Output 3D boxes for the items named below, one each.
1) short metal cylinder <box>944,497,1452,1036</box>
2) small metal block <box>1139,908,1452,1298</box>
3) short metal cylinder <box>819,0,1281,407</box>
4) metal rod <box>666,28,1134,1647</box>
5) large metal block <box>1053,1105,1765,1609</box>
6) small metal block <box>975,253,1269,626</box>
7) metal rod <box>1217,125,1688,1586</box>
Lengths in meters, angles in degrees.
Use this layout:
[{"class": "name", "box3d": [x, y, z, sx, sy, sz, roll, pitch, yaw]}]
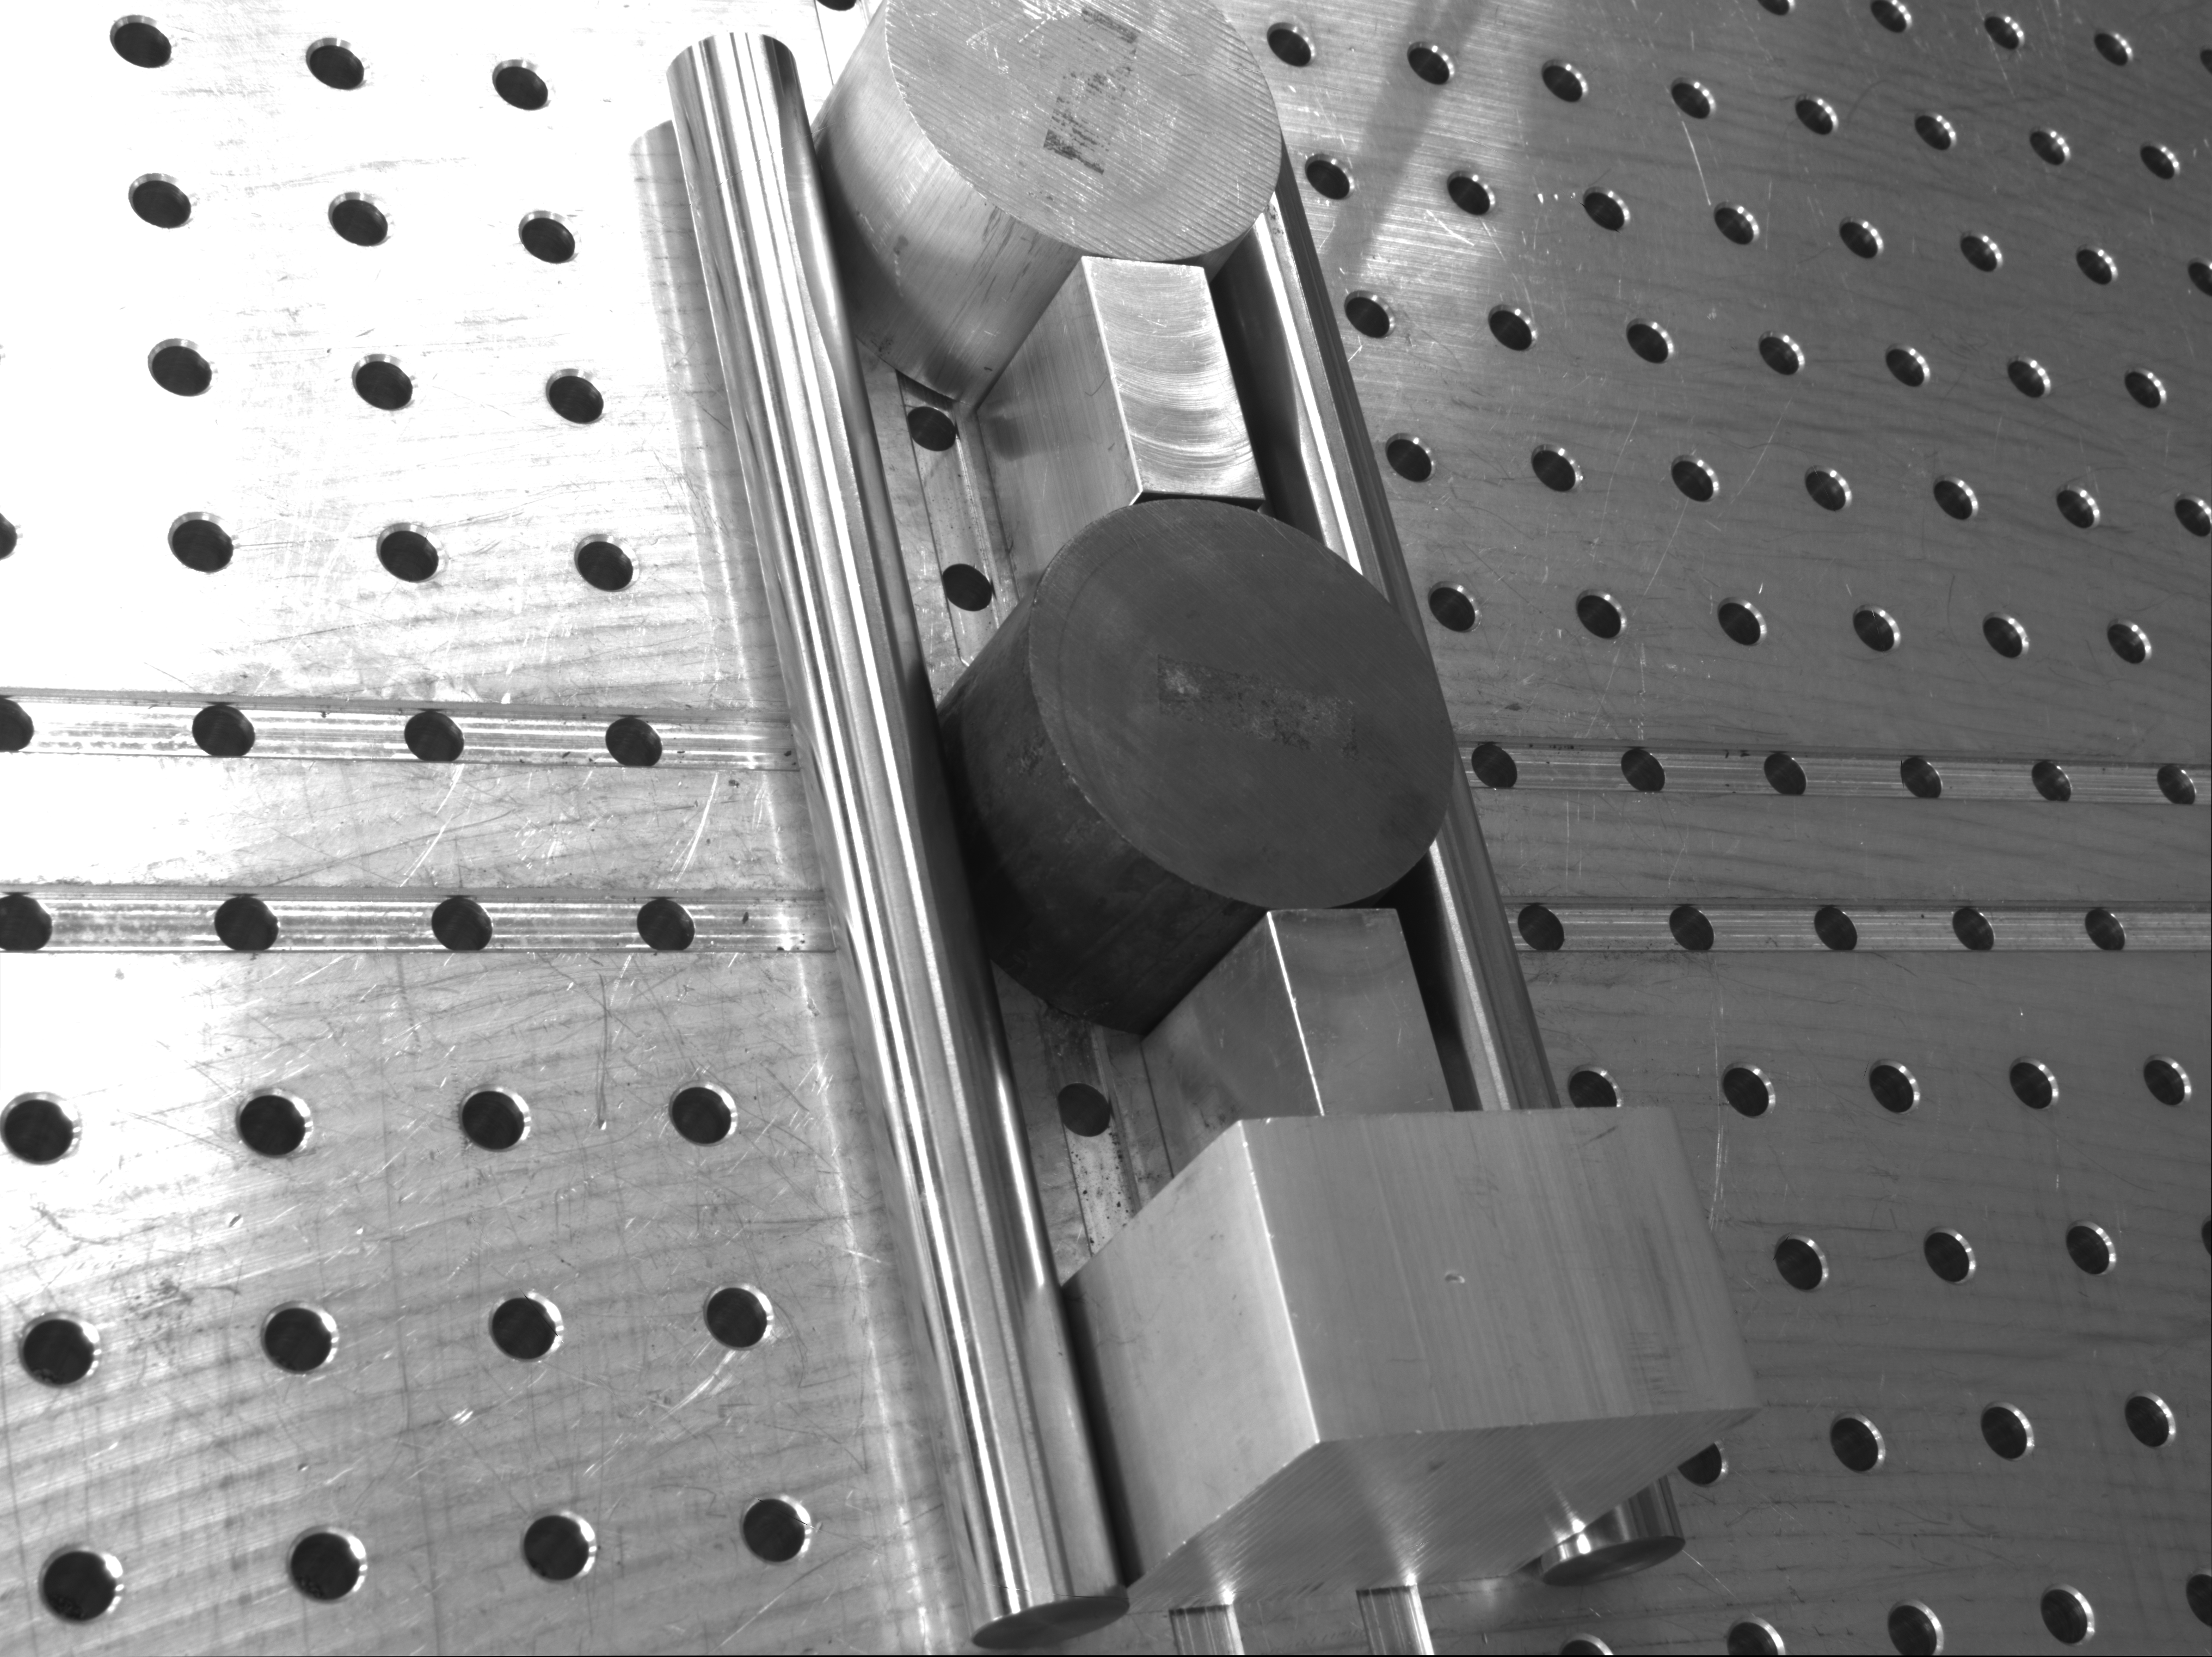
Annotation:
[{"class": "short metal cylinder", "box3d": [0.013, -0.010, 0.639, 0.080, 0.050, 0.080, 14, 56, -21]}, {"class": "small metal block", "box3d": [0.033, 0.047, 0.613, 0.025, 0.050, 0.050, 0, 61, -28]}, {"class": "short metal cylinder", "box3d": [-0.014, -0.125, 0.694, 0.080, 0.050, 0.080, 14, 56, -21]}, {"class": "metal rod", "box3d": [-0.039, -0.010, 0.626, 0.025, 0.025, 0.300, 1, 61, -28]}, {"class": "large metal block", "box3d": [0.043, 0.084, 0.578, 0.080, 0.080, 0.050, 1, 61, -28]}, {"class": "small metal block", "box3d": [0.002, -0.068, 0.667, 0.025, 0.050, 0.050, 1, 61, -28]}, {"class": "metal rod", "box3d": [0.054, -0.010, 0.675, 0.025, 0.025, 0.300, 1, 61, -28]}]
